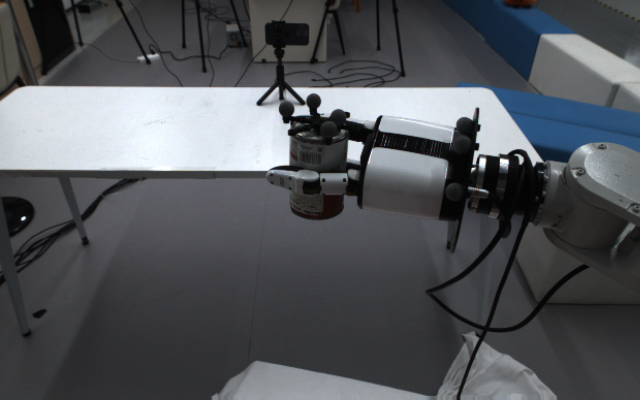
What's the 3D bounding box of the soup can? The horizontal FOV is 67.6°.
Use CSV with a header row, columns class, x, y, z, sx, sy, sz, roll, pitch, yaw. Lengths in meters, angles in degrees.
class,x,y,z,sx,sy,sz,roll,pitch,yaw
soup can,-0.001,-0.037,0.563,0.067,0.101,0.067,2,32,-1
